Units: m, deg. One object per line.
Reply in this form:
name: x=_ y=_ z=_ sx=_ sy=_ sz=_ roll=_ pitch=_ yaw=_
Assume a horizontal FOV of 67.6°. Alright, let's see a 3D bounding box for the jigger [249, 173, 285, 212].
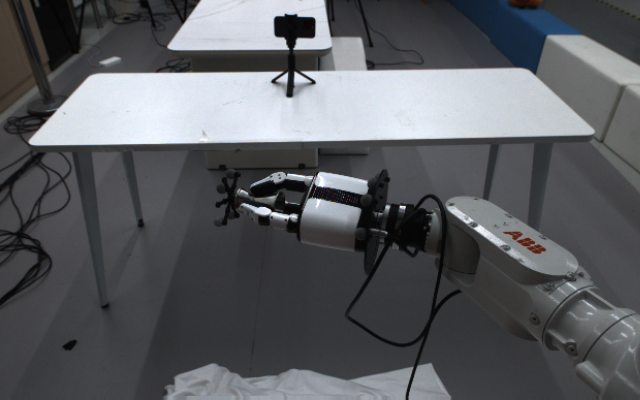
jigger: x=-0.089 y=0.001 z=0.757 sx=0.071 sy=0.043 sz=0.043 roll=8 pitch=35 yaw=17
